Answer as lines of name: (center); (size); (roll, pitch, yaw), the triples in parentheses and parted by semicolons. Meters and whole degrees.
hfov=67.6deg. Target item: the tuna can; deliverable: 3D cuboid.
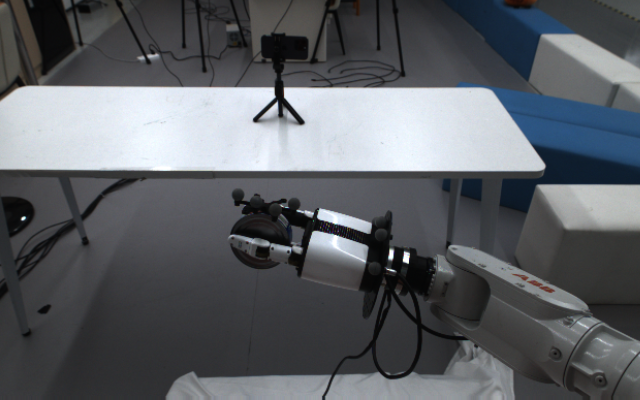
tuna can: (-0.082, 0.053, 0.691); (0.085, 0.085, 0.034); (5, 18, 5)
